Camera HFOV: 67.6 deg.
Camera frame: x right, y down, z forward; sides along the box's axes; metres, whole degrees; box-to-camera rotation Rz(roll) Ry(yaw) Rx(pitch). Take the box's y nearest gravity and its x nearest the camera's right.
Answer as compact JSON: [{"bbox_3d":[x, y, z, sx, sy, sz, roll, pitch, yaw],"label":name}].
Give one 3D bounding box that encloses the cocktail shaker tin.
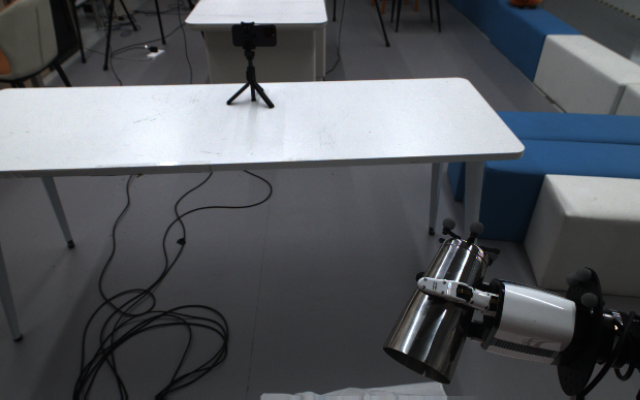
[{"bbox_3d":[0.161,0.135,0.633,0.093,0.093,0.170,20,67,24],"label":"cocktail shaker tin"}]
